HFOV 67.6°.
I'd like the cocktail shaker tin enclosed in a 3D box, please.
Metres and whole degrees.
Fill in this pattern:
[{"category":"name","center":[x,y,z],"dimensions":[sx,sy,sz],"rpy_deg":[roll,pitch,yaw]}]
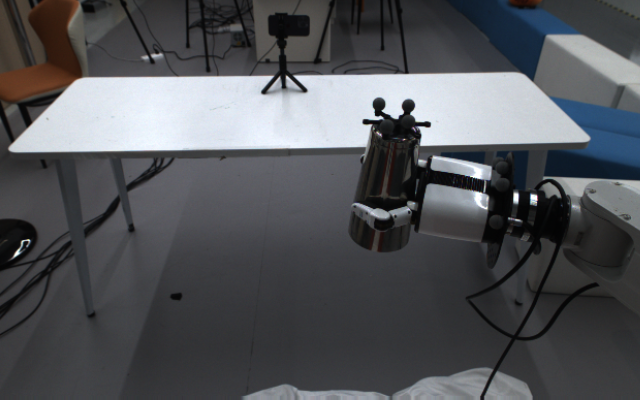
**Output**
[{"category":"cocktail shaker tin","center":[0.095,-0.024,0.675],"dimensions":[0.093,0.170,0.093],"rpy_deg":[3,34,-2]}]
